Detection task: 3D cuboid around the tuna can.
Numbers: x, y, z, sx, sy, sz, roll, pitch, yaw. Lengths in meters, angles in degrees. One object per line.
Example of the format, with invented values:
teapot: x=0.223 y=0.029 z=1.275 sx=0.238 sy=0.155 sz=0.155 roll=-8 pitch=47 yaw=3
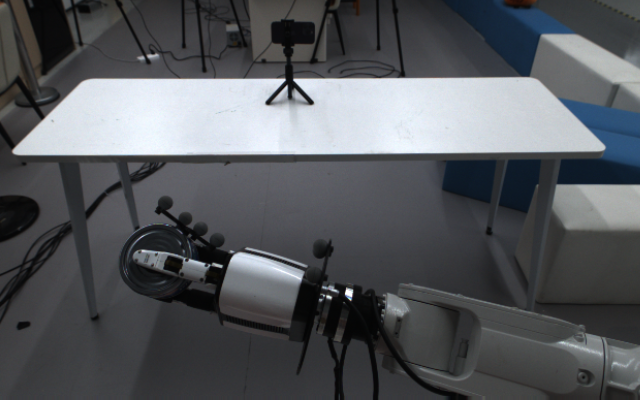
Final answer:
tuna can: x=-0.185 y=0.072 z=0.566 sx=0.085 sy=0.034 sz=0.085 roll=0 pitch=74 yaw=-1
